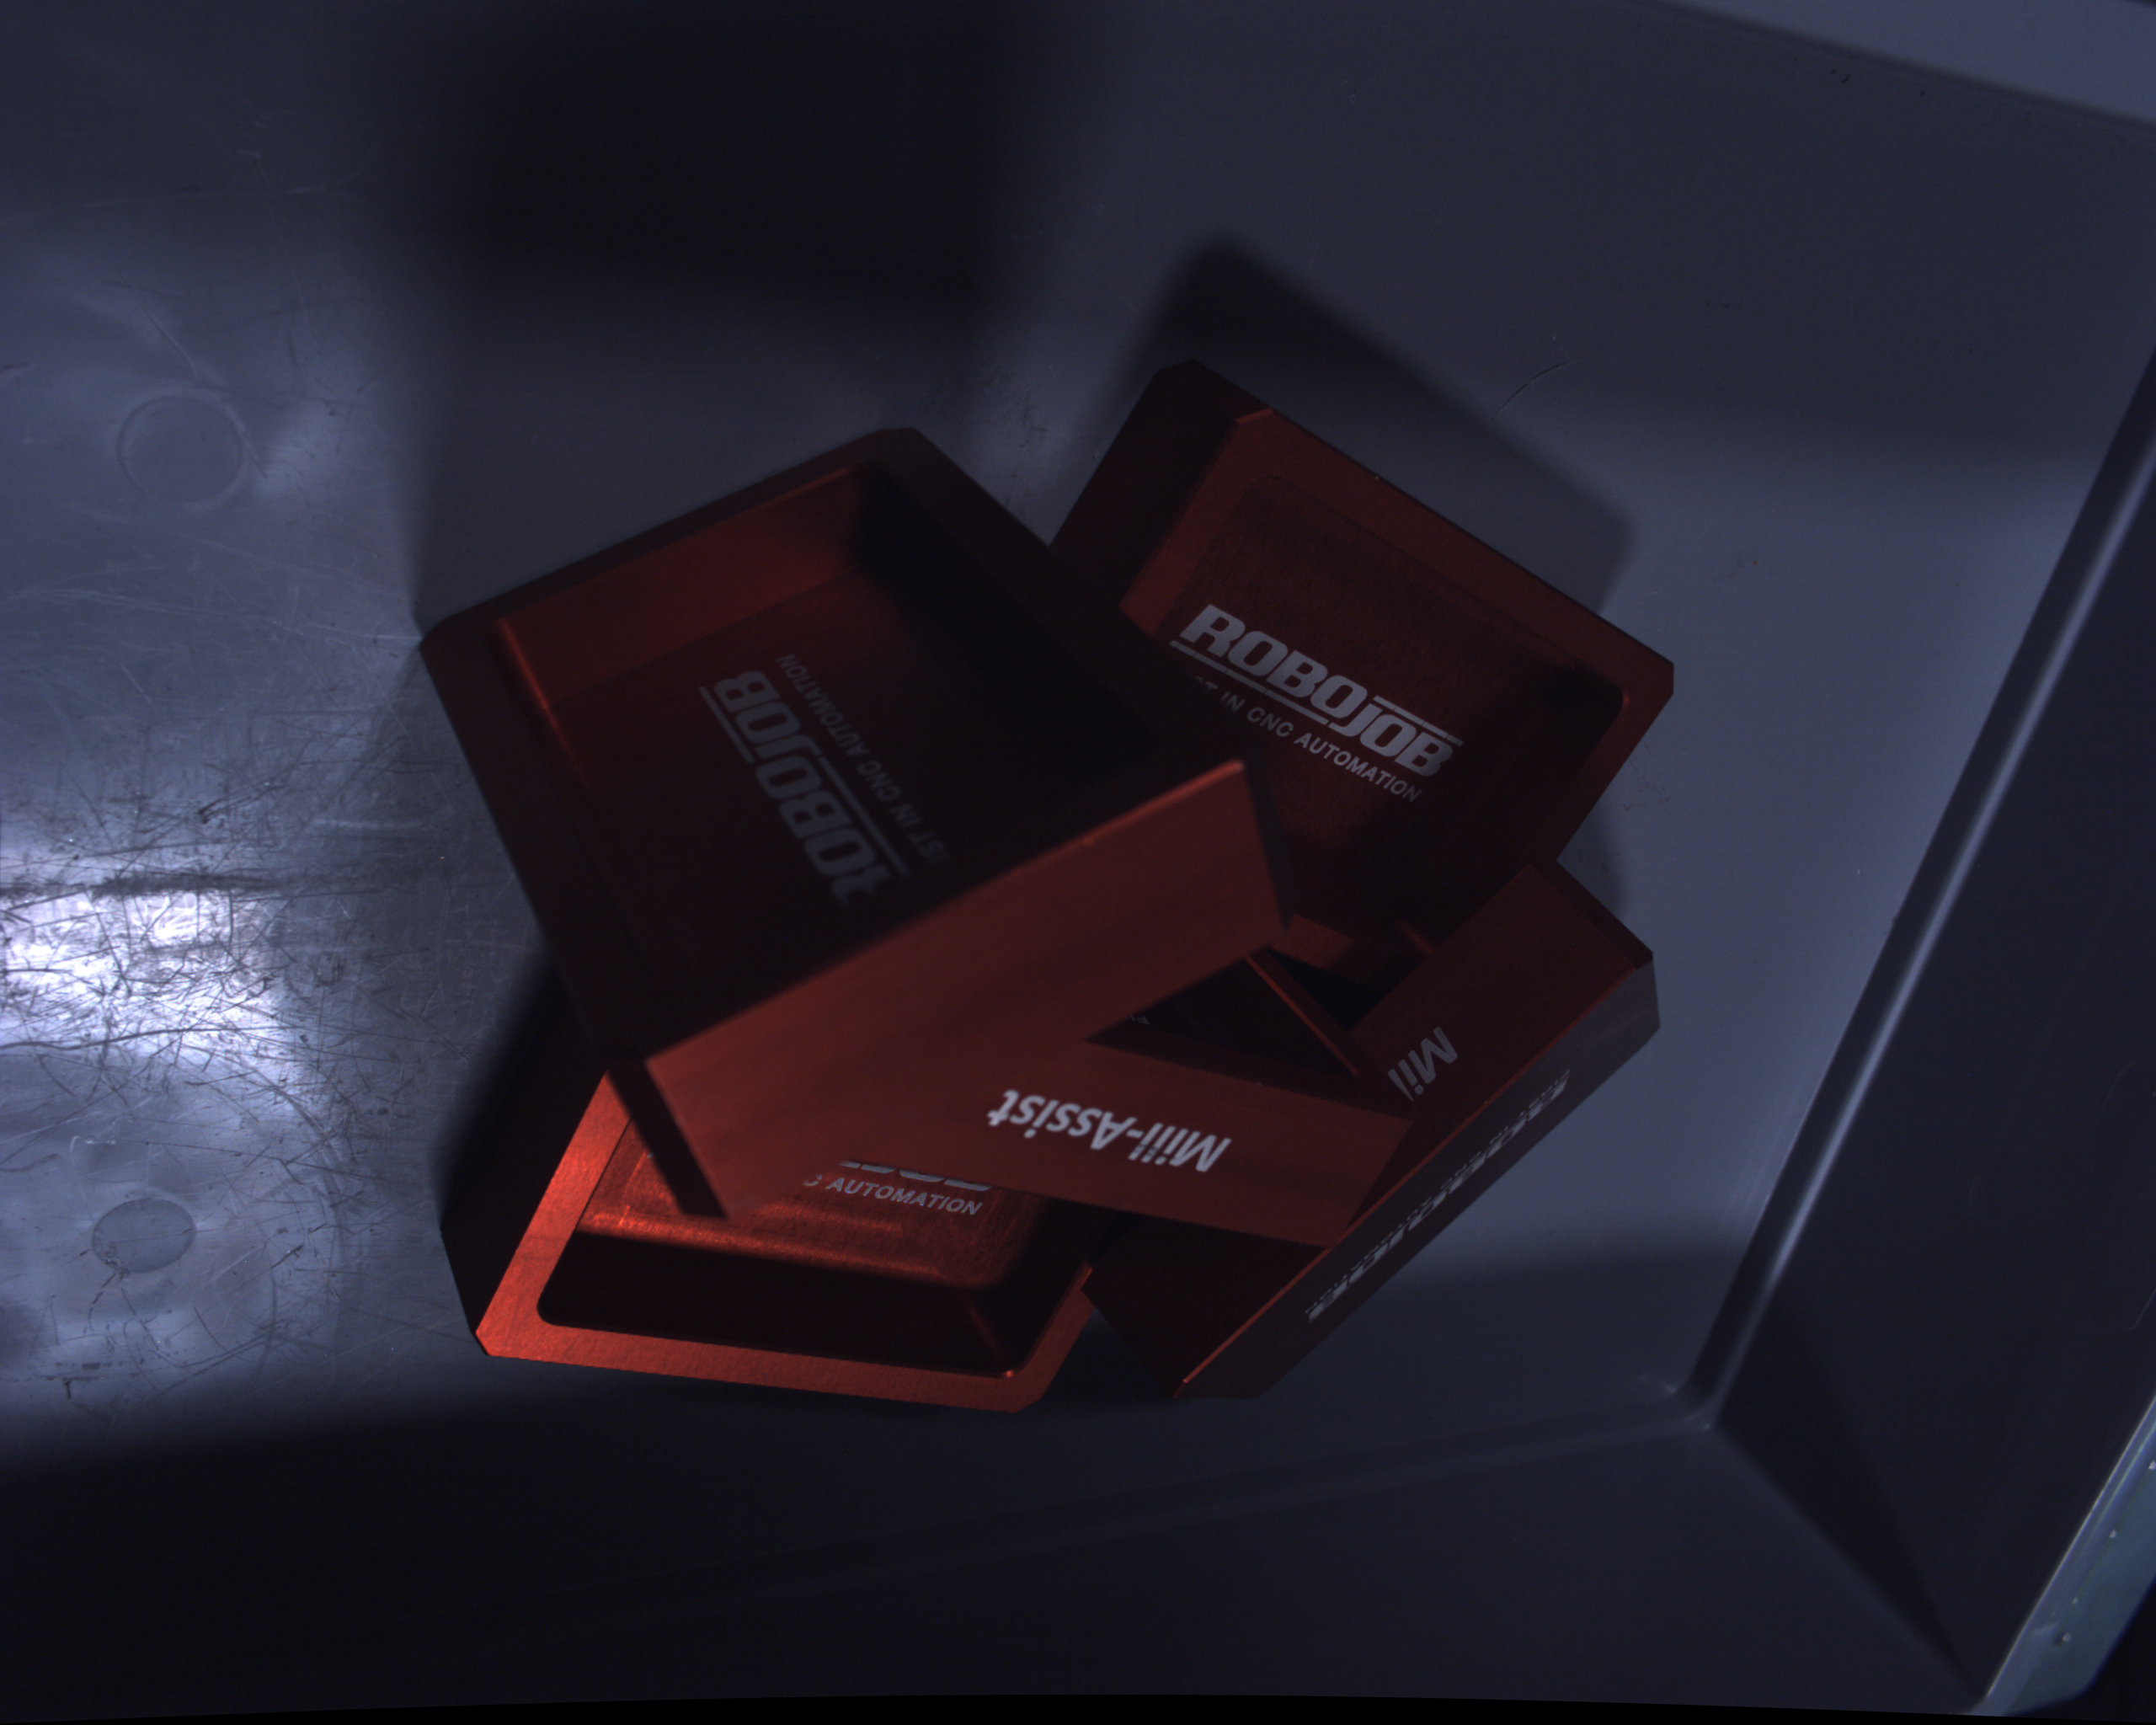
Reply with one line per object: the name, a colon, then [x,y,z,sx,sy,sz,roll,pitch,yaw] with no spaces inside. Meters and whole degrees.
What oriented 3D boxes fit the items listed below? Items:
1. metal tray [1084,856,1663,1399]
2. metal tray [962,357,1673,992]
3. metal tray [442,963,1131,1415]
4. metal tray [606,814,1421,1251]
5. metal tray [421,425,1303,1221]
metal tray: [0.069,0.062,0.456,0.130,0.030,0.090,-43,158,2]
metal tray: [0.048,-0.030,0.413,0.131,0.030,0.090,23,106,-37]
metal tray: [-0.046,0.061,0.416,0.131,0.030,0.089,17,109,-35]
metal tray: [-0.013,0.023,0.371,0.131,0.090,0.030,17,110,-35]
metal tray: [-0.038,-0.015,0.308,0.091,0.130,0.030,-26,128,-12]
